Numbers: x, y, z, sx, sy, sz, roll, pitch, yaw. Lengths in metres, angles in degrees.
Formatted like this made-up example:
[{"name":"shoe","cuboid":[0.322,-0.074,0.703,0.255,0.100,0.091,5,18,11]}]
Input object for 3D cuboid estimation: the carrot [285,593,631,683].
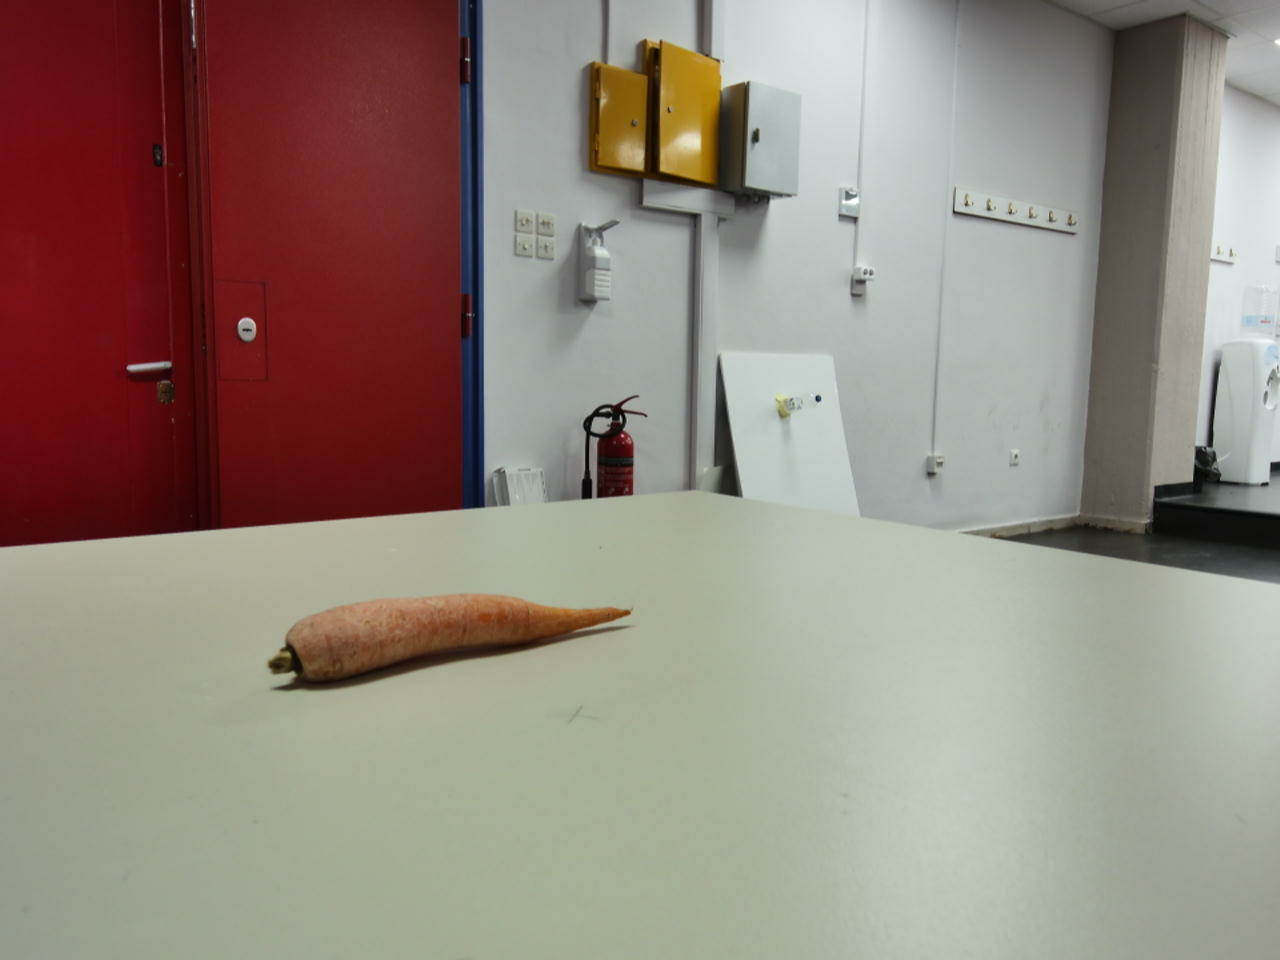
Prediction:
[{"name":"carrot","cuboid":[-0.073,0.061,0.429,0.163,0.029,0.031,-4,5,-37]}]
